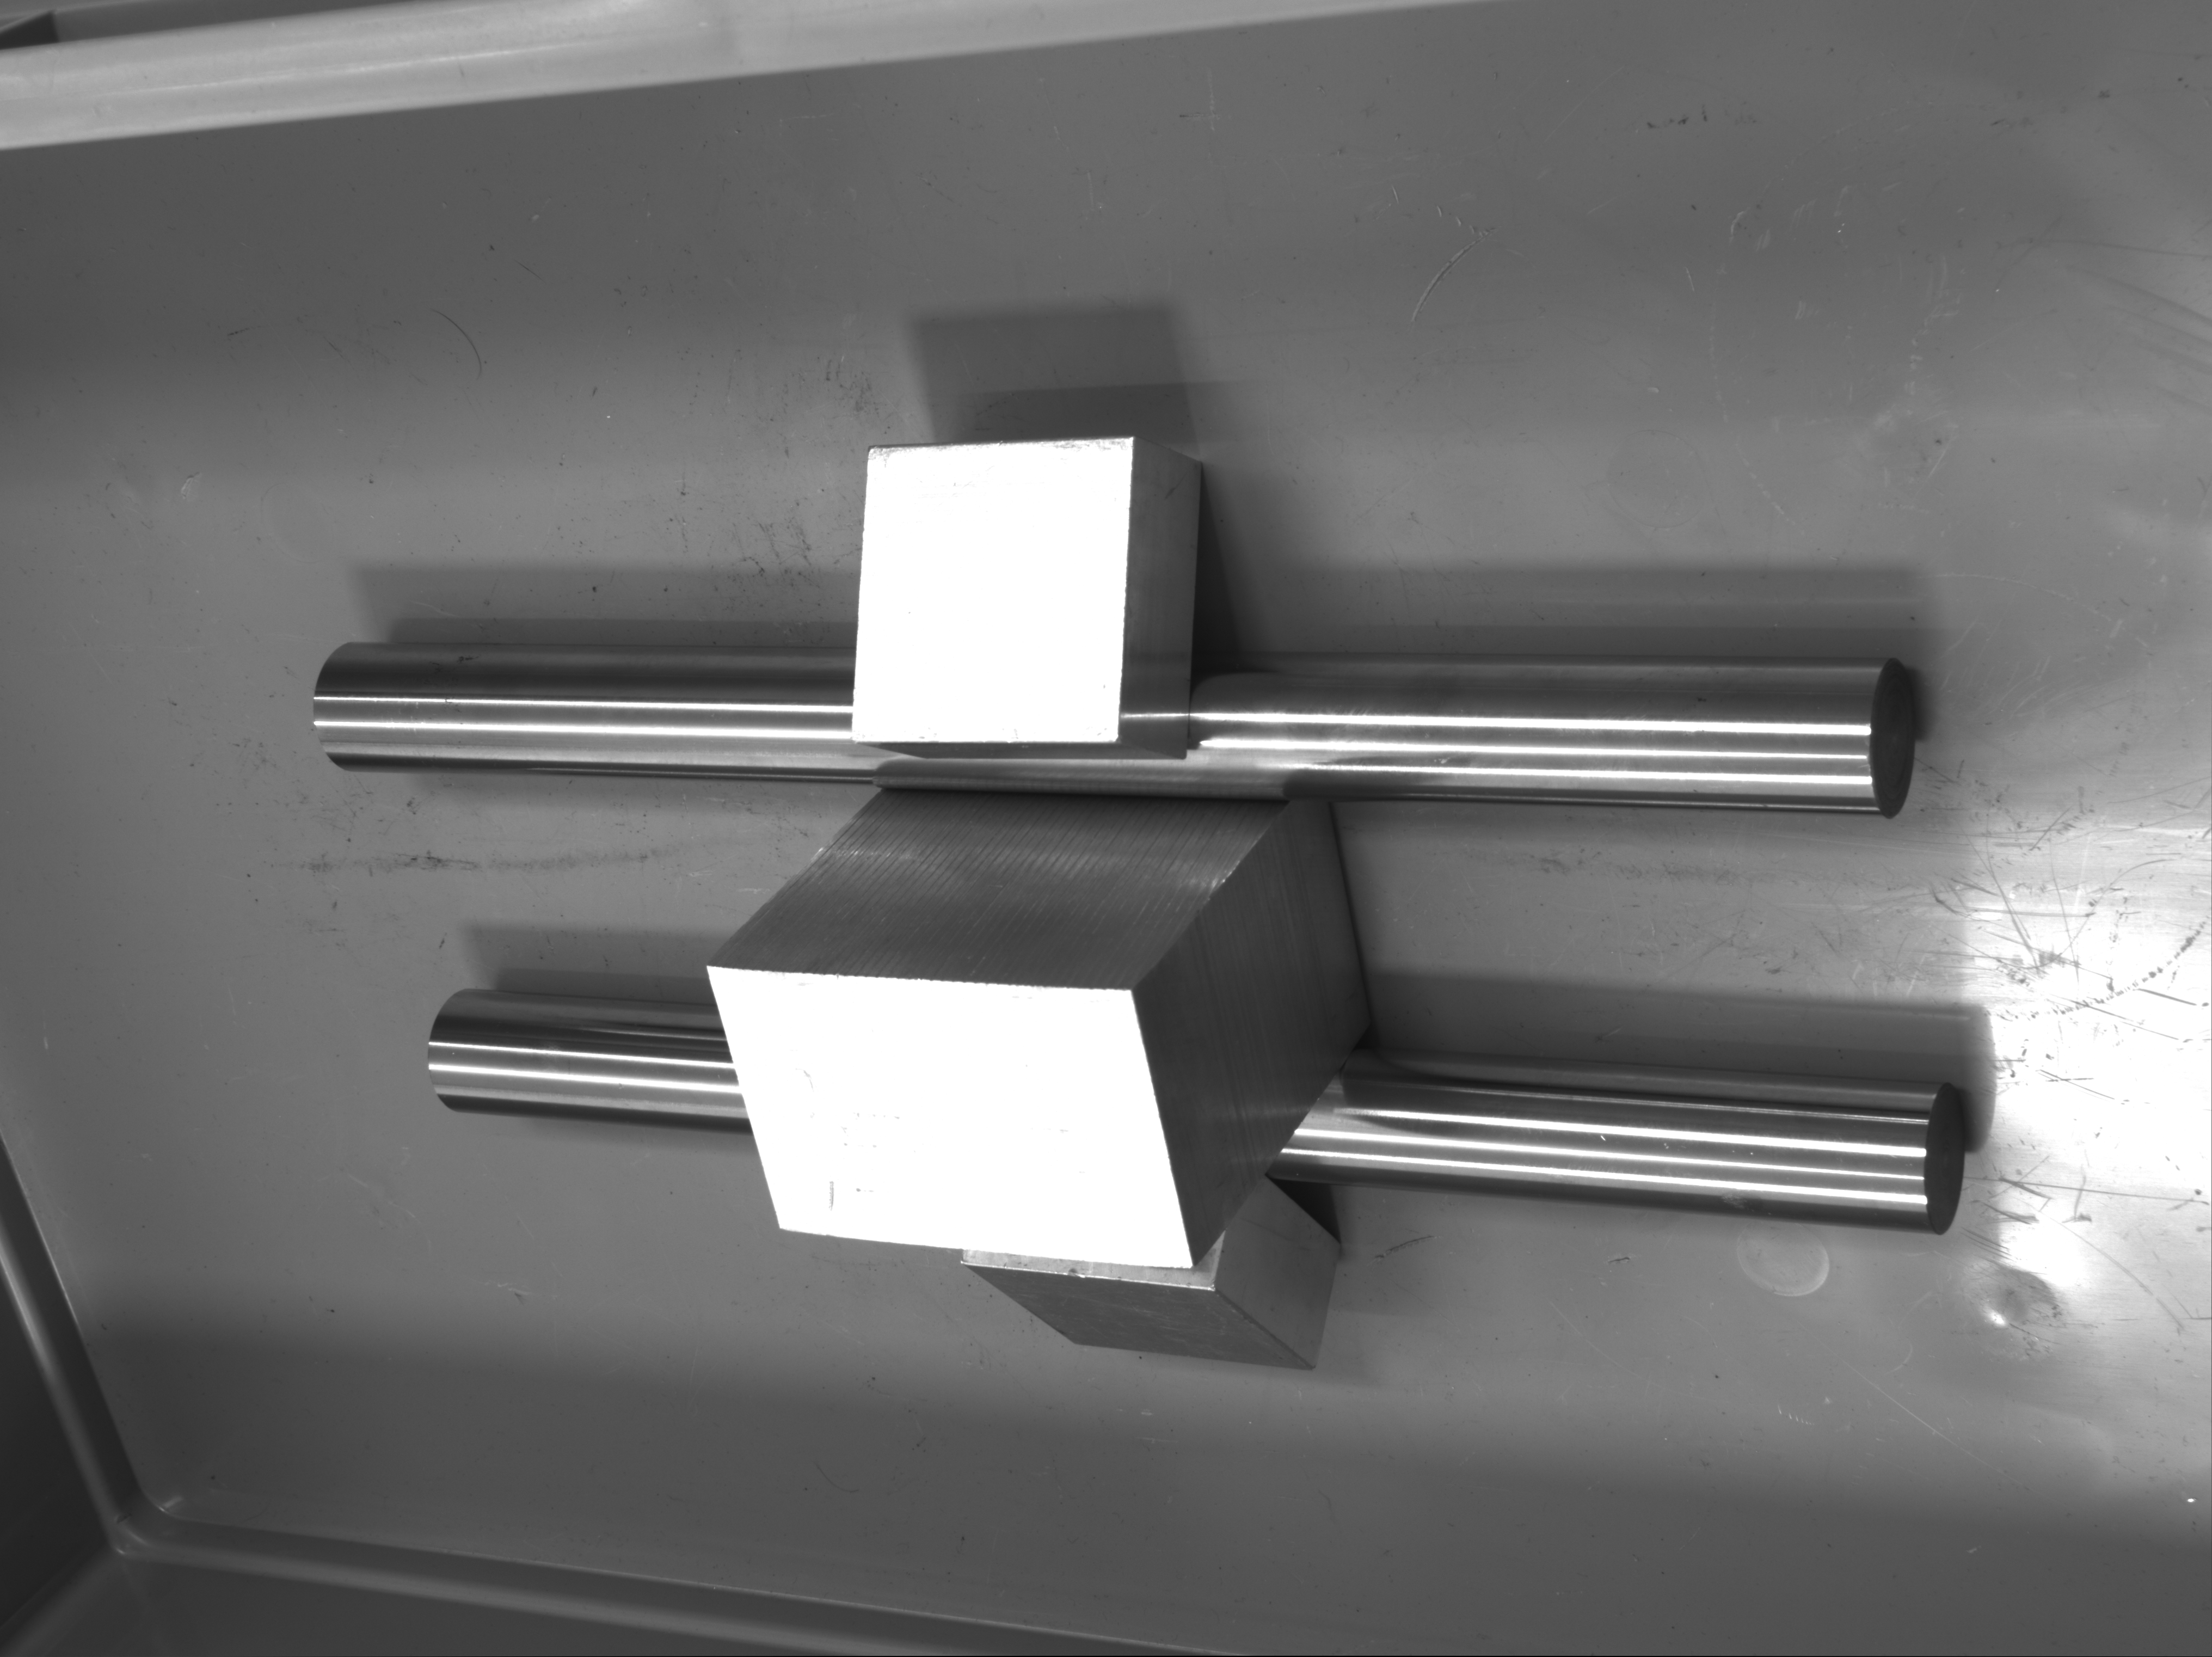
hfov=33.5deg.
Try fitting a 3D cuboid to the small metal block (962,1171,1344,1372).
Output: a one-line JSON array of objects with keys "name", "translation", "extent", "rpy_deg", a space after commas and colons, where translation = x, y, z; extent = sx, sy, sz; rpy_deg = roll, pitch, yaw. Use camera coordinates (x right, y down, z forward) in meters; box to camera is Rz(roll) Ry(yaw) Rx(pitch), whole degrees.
[{"name": "small metal block", "translation": [0.009, 0.077, 0.668], "extent": [0.050, 0.025, 0.050], "rpy_deg": [2, 157, 27]}]

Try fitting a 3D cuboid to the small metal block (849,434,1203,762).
[{"name": "small metal block", "translation": [-0.013, -0.038, 0.611], "extent": [0.050, 0.025, 0.050], "rpy_deg": [1, 84, 28]}]

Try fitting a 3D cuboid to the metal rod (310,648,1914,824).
[{"name": "metal rod", "translation": [-0.011, -0.018, 0.636], "extent": [0.299, 0.025, 0.025], "rpy_deg": [2, 119, 27]}]

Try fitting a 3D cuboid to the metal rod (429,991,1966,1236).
[{"name": "metal rod", "translation": [0.005, 0.050, 0.670], "extent": [0.299, 0.025, 0.025], "rpy_deg": [2, 119, 27]}]

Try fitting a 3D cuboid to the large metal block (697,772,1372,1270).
[{"name": "large metal block", "translation": [-0.010, 0.029, 0.628], "extent": [0.080, 0.080, 0.050], "rpy_deg": [2, 119, 28]}]
